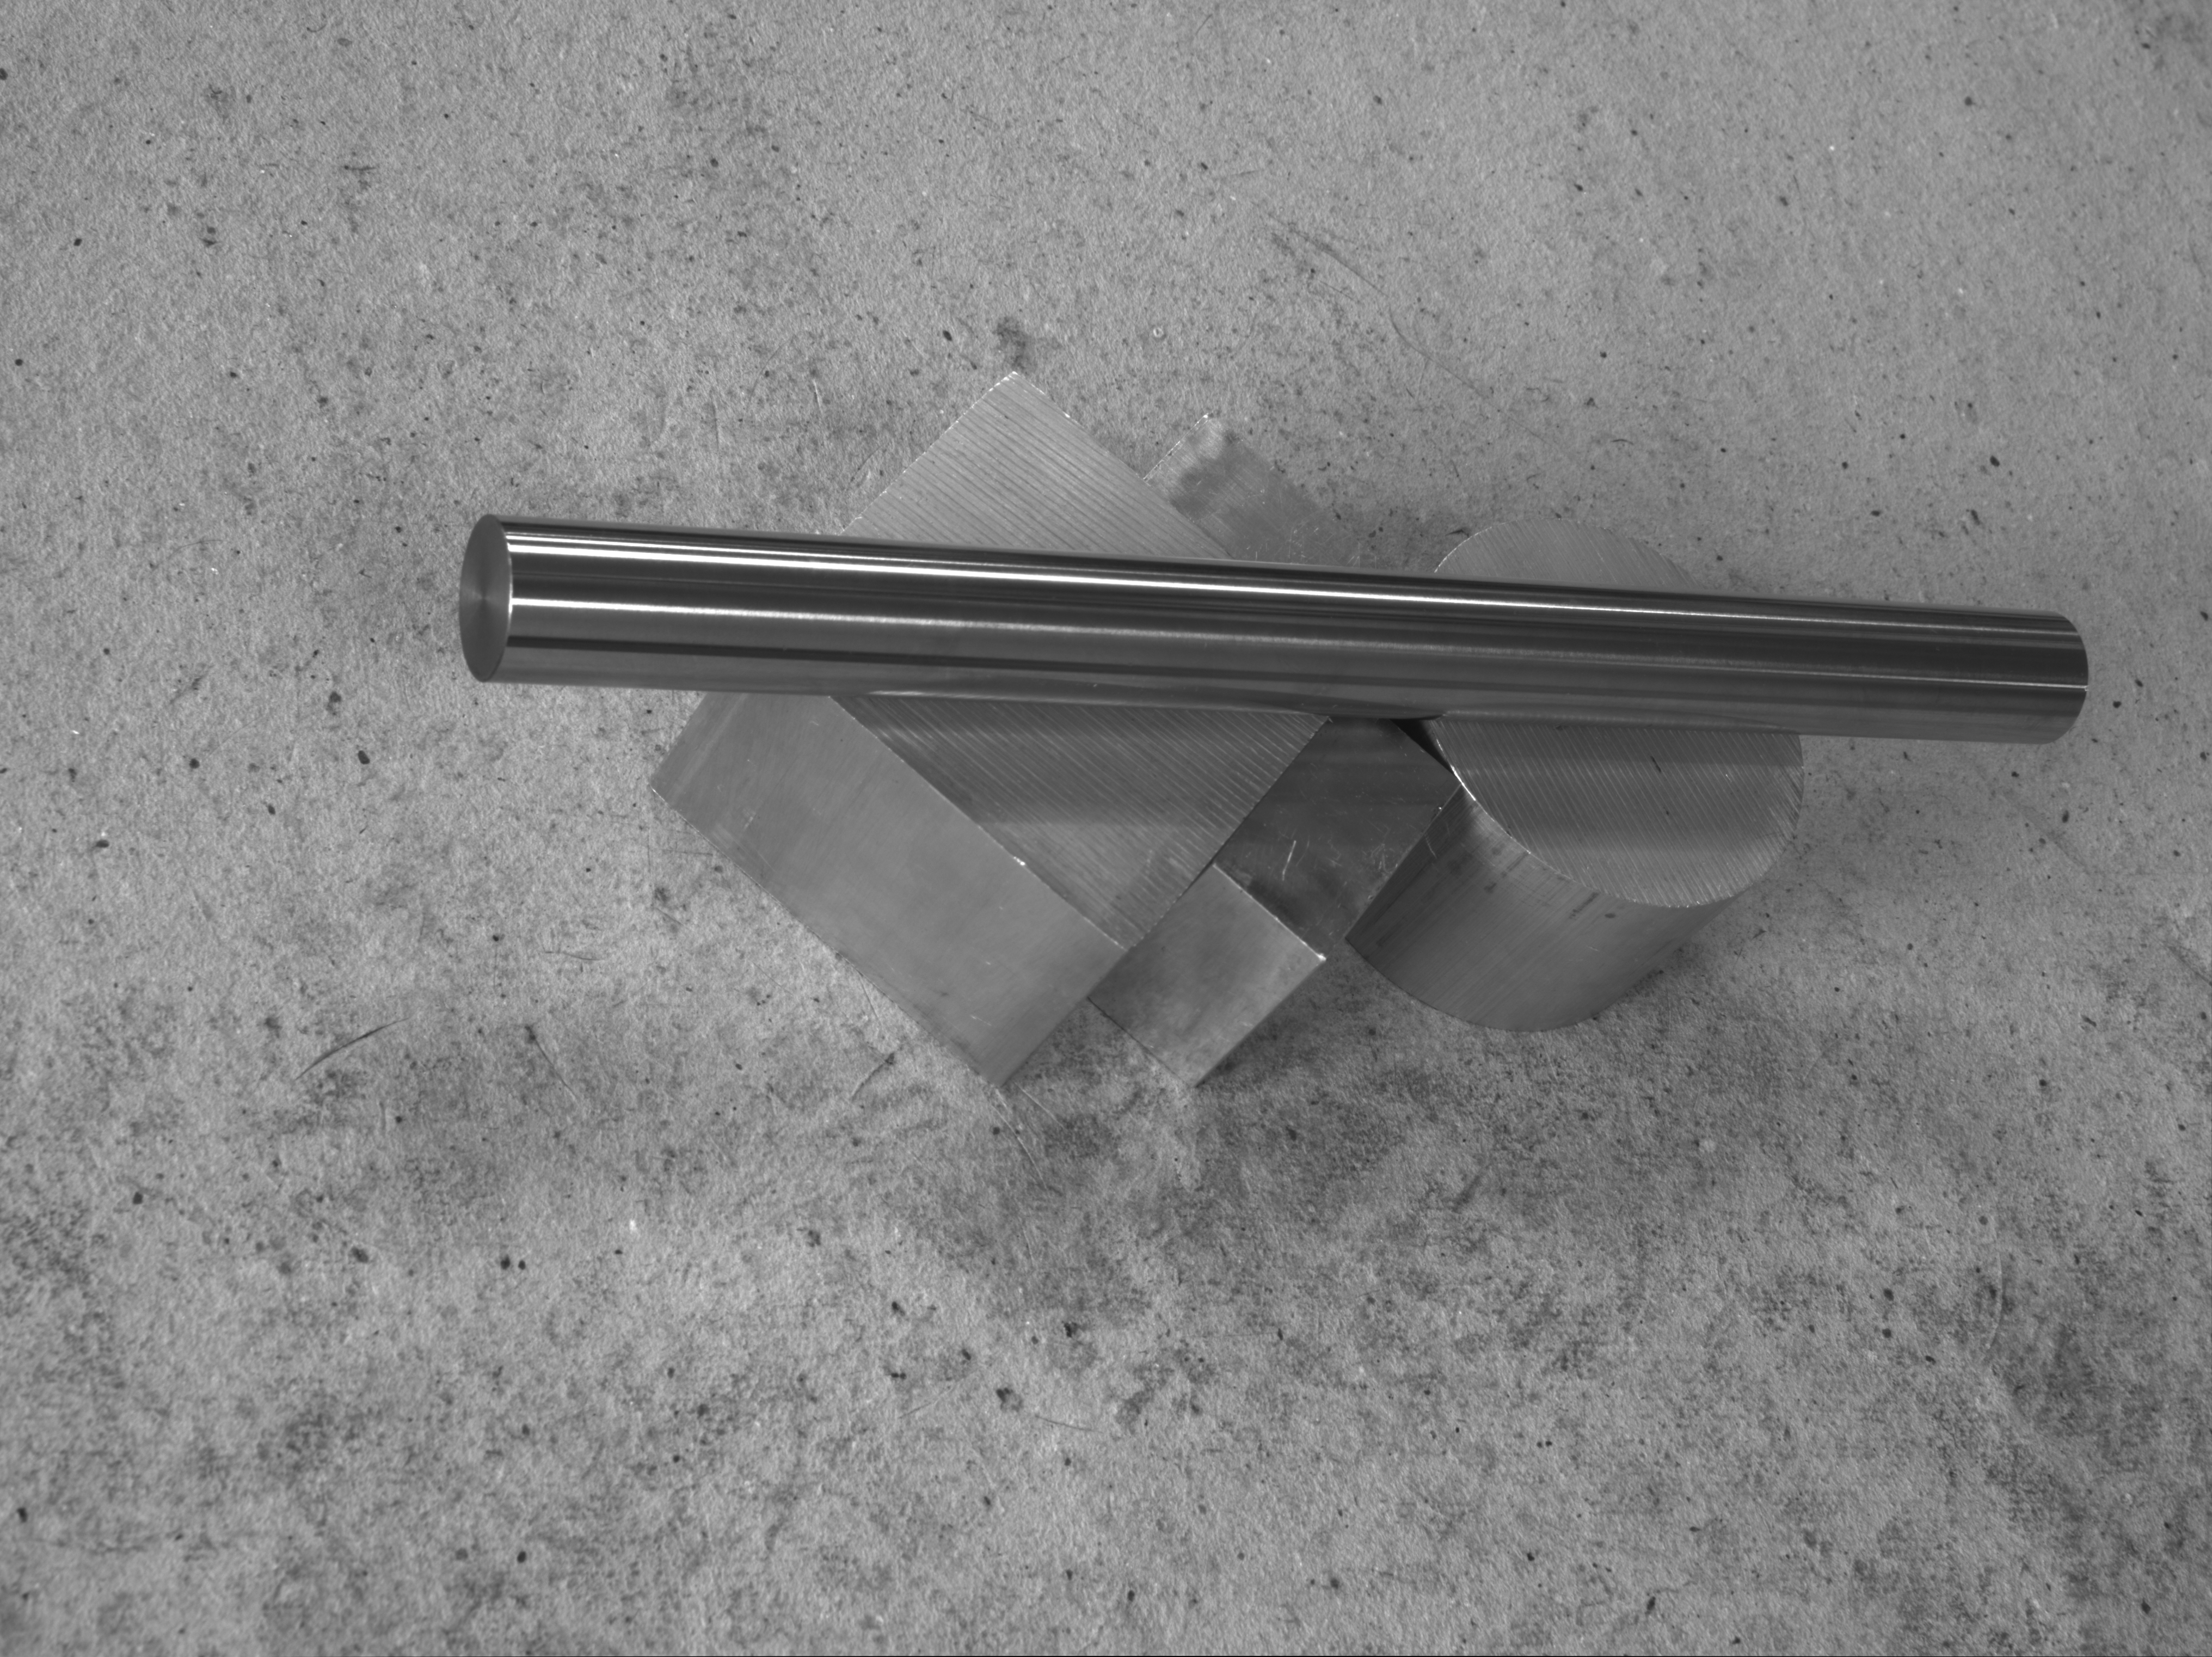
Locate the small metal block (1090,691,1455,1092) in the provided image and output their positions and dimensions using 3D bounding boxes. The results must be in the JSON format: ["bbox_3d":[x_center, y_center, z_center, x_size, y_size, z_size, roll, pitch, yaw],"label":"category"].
[{"bbox_3d":[0.027,0.011,0.633,0.025,0.050,0.050,41,51,0],"label":"small metal block"}]

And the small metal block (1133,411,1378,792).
[{"bbox_3d":[0.020,-0.038,0.658,0.050,0.050,0.025,41,51,-1],"label":"small metal block"}]

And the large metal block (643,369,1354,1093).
[{"bbox_3d":[-0.017,-0.017,0.623,0.080,0.050,0.080,41,51,0],"label":"large metal block"}]

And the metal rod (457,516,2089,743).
[{"bbox_3d":[0.041,-0.031,0.614,0.301,0.025,0.025,1,61,-28],"label":"metal rod"}]

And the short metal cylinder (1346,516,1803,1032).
[{"bbox_3d":[0.079,-0.010,0.671,0.080,0.050,0.080,13,56,-21],"label":"short metal cylinder"}]
